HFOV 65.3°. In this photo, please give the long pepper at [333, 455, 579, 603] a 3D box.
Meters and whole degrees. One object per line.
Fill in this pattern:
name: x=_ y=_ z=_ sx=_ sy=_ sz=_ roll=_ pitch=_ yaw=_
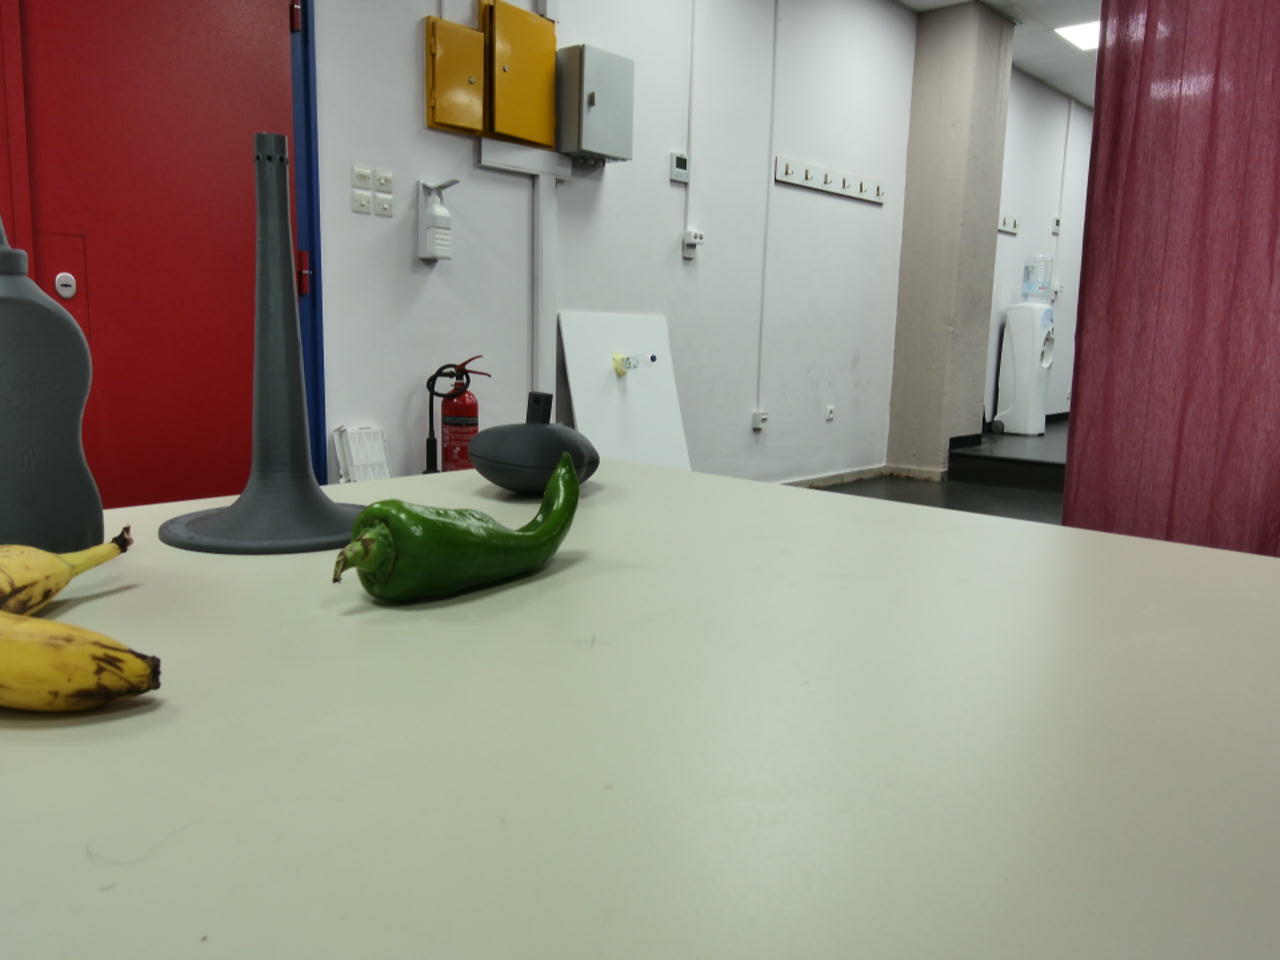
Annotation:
long pepper: x=-0.089 y=0.025 z=0.539 sx=0.058 sy=0.065 sz=0.175 roll=6 pitch=9 yaw=39
